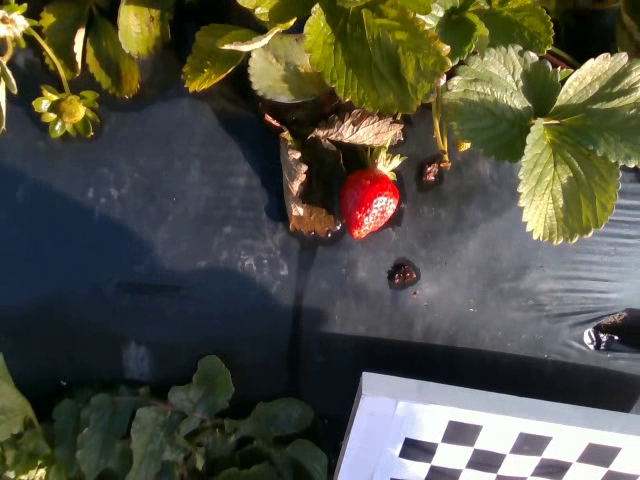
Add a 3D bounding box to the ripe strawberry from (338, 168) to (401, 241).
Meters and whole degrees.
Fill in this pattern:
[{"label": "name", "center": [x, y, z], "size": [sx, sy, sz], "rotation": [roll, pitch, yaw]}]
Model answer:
[{"label": "ripe strawberry", "center": [0.025, -0.013, 0.338], "size": [0.046, 0.054, 0.037], "rotation": [26, -13, -15]}]
